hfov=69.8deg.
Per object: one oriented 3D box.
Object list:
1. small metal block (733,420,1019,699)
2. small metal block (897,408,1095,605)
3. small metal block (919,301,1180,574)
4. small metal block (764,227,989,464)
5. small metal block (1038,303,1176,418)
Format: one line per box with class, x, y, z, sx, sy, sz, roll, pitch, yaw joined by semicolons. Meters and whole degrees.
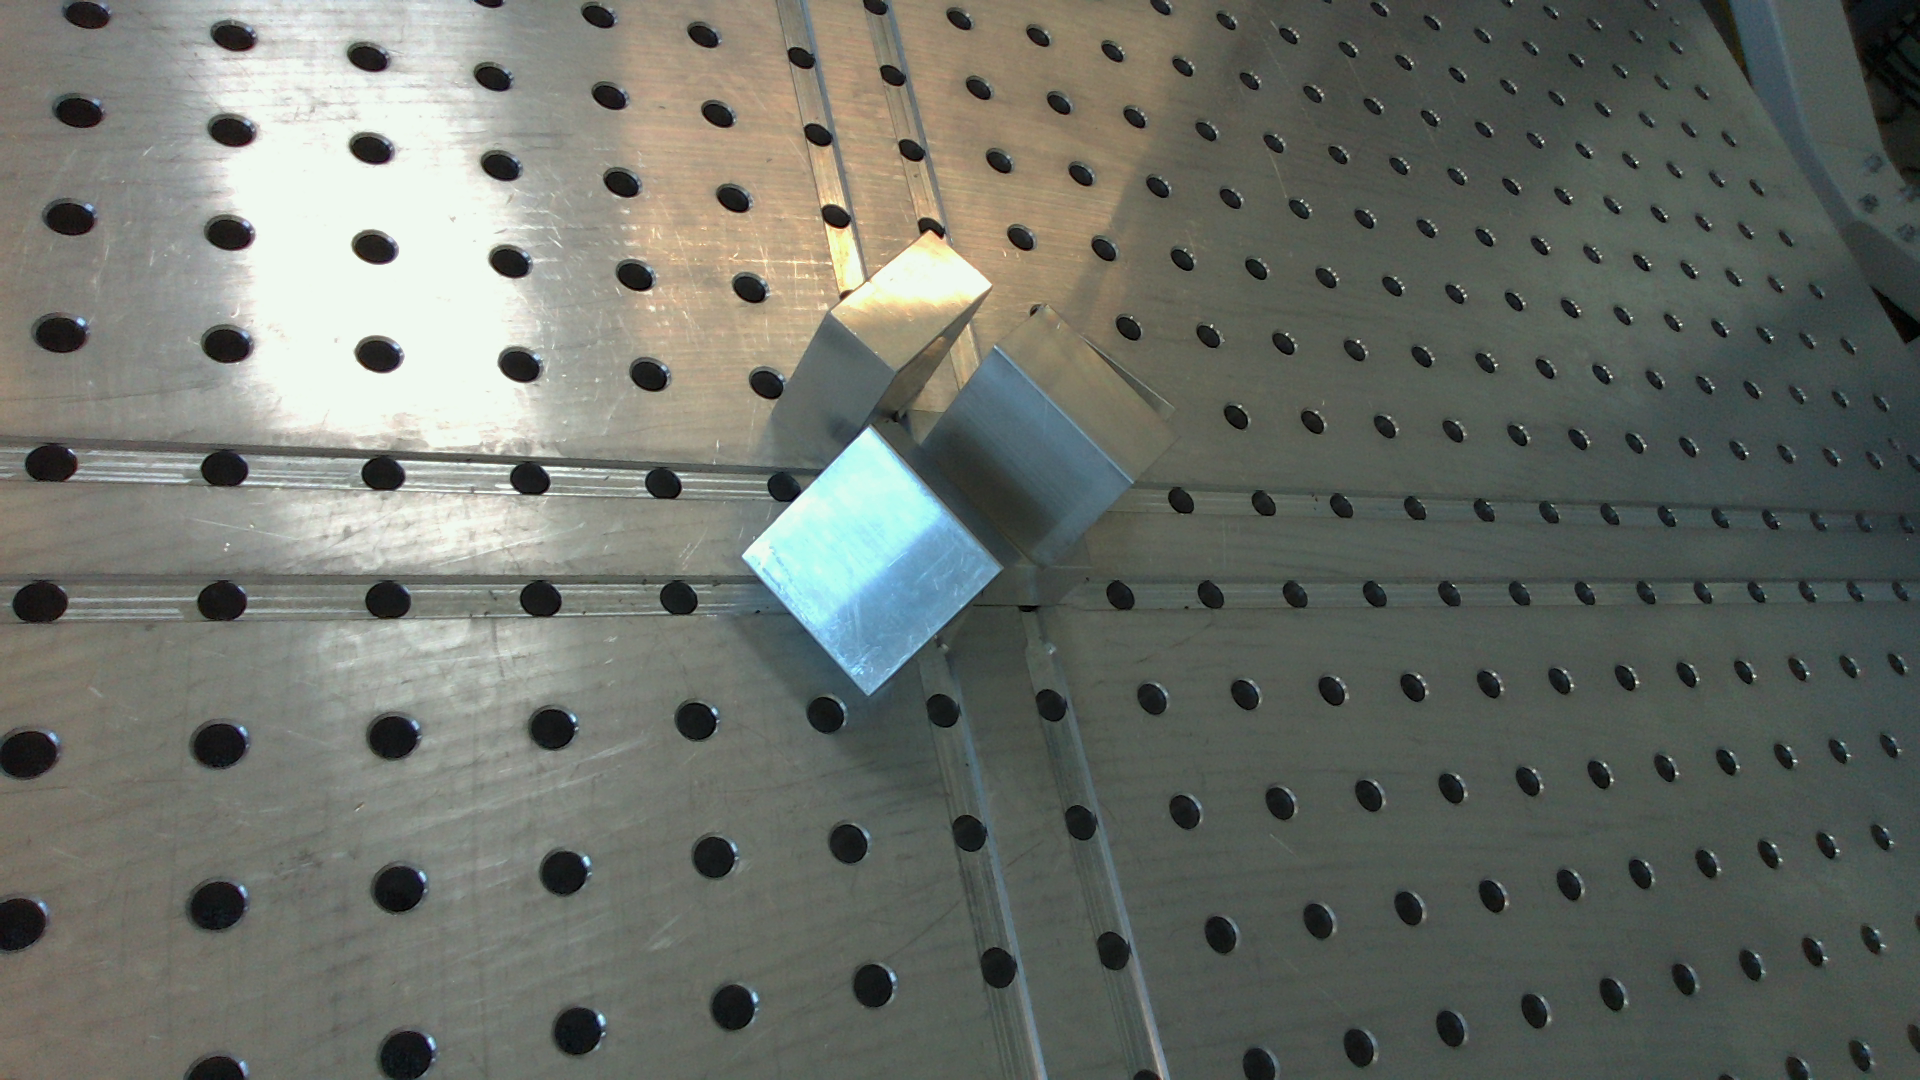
small metal block;-0.021;0.004;0.359;0.050;0.050;0.025;47;14;5
small metal block;0.006;-0.009;0.401;0.050;0.025;0.050;1;61;-29
small metal block;0.022;-0.027;0.372;0.050;0.050;0.025;46;50;3
small metal block;-0.024;-0.055;0.397;0.025;0.050;0.050;42;51;1
small metal block;0.037;-0.048;0.425;0.050;0.025;0.050;37;11;-3
